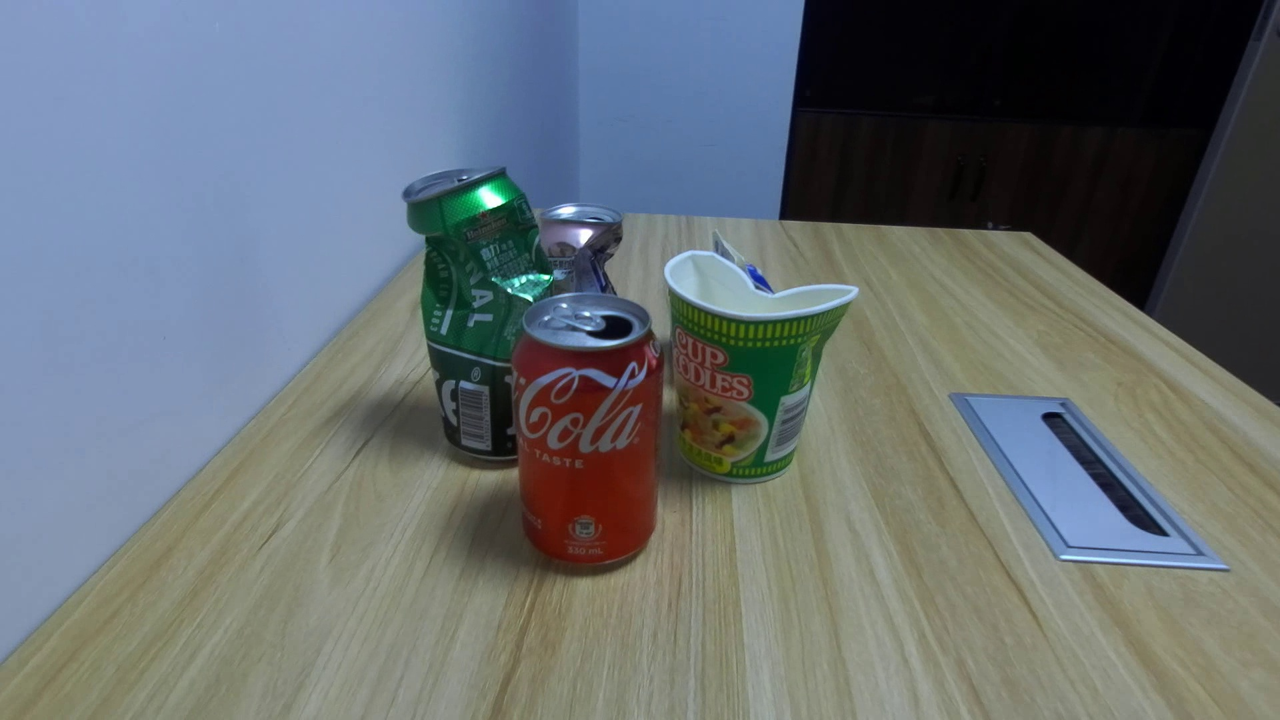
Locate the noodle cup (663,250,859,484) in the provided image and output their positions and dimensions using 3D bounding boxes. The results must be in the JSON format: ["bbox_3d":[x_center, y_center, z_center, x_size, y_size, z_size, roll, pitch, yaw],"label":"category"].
[{"bbox_3d":[0.054,0.005,0.388,0.087,0.109,0.093,-19,34,-33],"label":"noodle cup"}]

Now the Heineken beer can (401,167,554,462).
[{"bbox_3d":[-0.082,-0.024,0.394,0.079,0.159,0.067,-3,25,3],"label":"Heineken beer can"}]

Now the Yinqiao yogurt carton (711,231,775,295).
[{"bbox_3d":[0.063,-0.040,0.508,0.071,0.094,0.077,-8,27,-4],"label":"Yinqiao yogurt carton"}]

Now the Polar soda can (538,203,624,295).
[{"bbox_3d":[-0.042,-0.049,0.489,0.070,0.114,0.074,-5,27,-28],"label":"Polar soda can"}]
